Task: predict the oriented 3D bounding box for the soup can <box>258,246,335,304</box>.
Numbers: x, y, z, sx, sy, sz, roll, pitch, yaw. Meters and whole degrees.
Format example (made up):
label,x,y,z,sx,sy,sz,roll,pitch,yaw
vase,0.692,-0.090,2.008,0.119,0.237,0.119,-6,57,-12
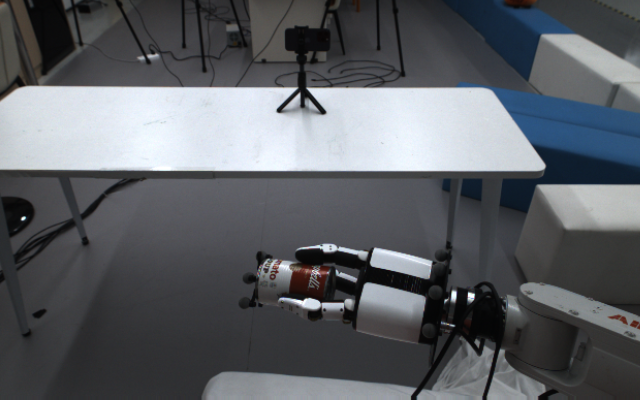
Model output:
label,x,y,z,sx,sy,sz,roll,pitch,yaw
soup can,-0.031,0.122,0.690,0.101,0.067,0.067,5,35,13
